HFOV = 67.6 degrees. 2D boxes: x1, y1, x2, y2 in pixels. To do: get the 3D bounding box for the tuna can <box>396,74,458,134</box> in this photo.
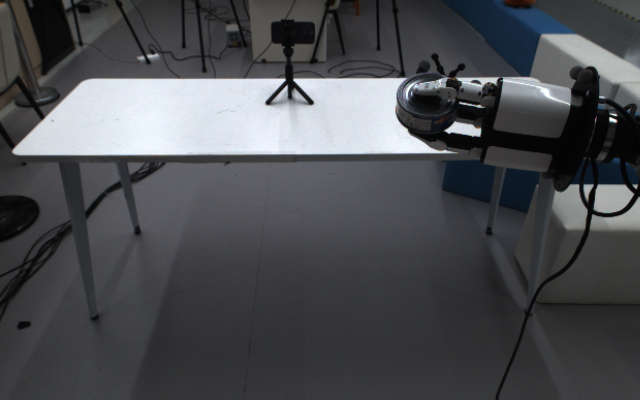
[{"bbox_3d":[0.151,-0.129,0.661,0.085,0.034,0.085,-4,58,6],"label":"tuna can"}]
